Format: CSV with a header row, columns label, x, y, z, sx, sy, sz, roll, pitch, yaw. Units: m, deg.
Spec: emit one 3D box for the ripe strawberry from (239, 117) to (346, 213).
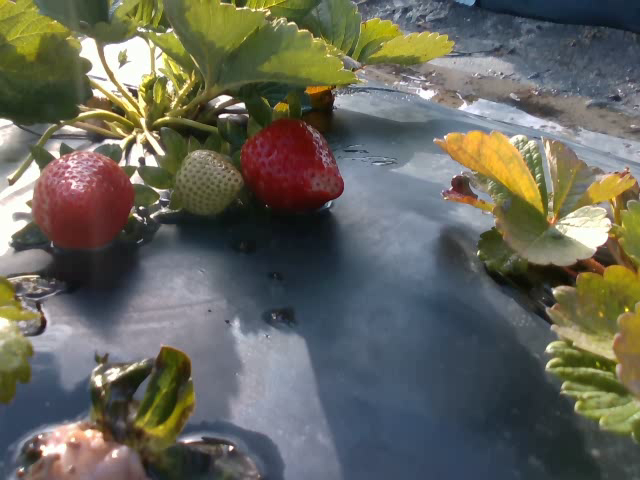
label,x,y,z,sx,sy,sz,roll,pitch,yaw
ripe strawberry,-0.010,-0.033,0.283,0.064,0.049,0.050,43,2,37
